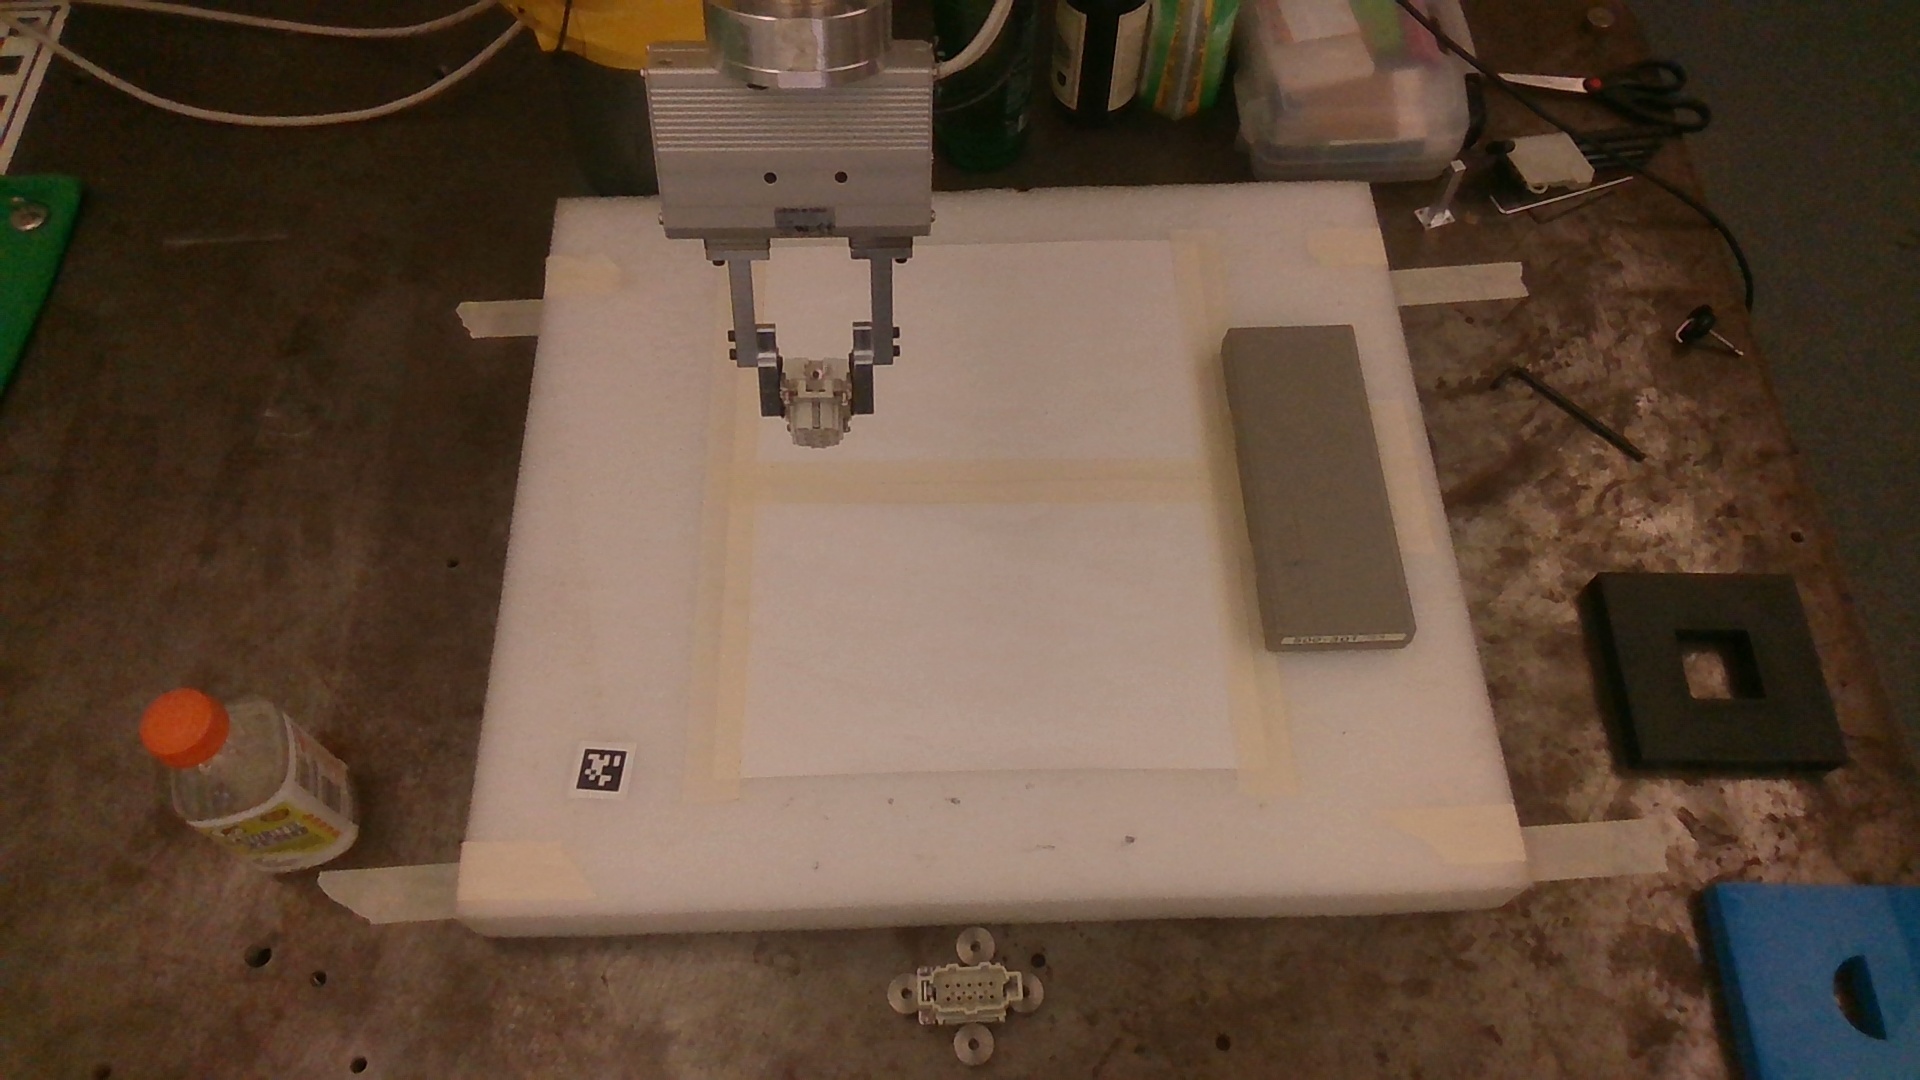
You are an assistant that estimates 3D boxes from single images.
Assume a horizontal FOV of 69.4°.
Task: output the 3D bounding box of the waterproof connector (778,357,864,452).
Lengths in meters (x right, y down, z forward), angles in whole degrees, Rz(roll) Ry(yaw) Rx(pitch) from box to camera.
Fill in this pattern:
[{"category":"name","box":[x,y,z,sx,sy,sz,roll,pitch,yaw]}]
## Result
[{"category":"waterproof connector","box":[-0.068,-0.066,0.685,0.037,0.069,0.038,0,83,0]}]
